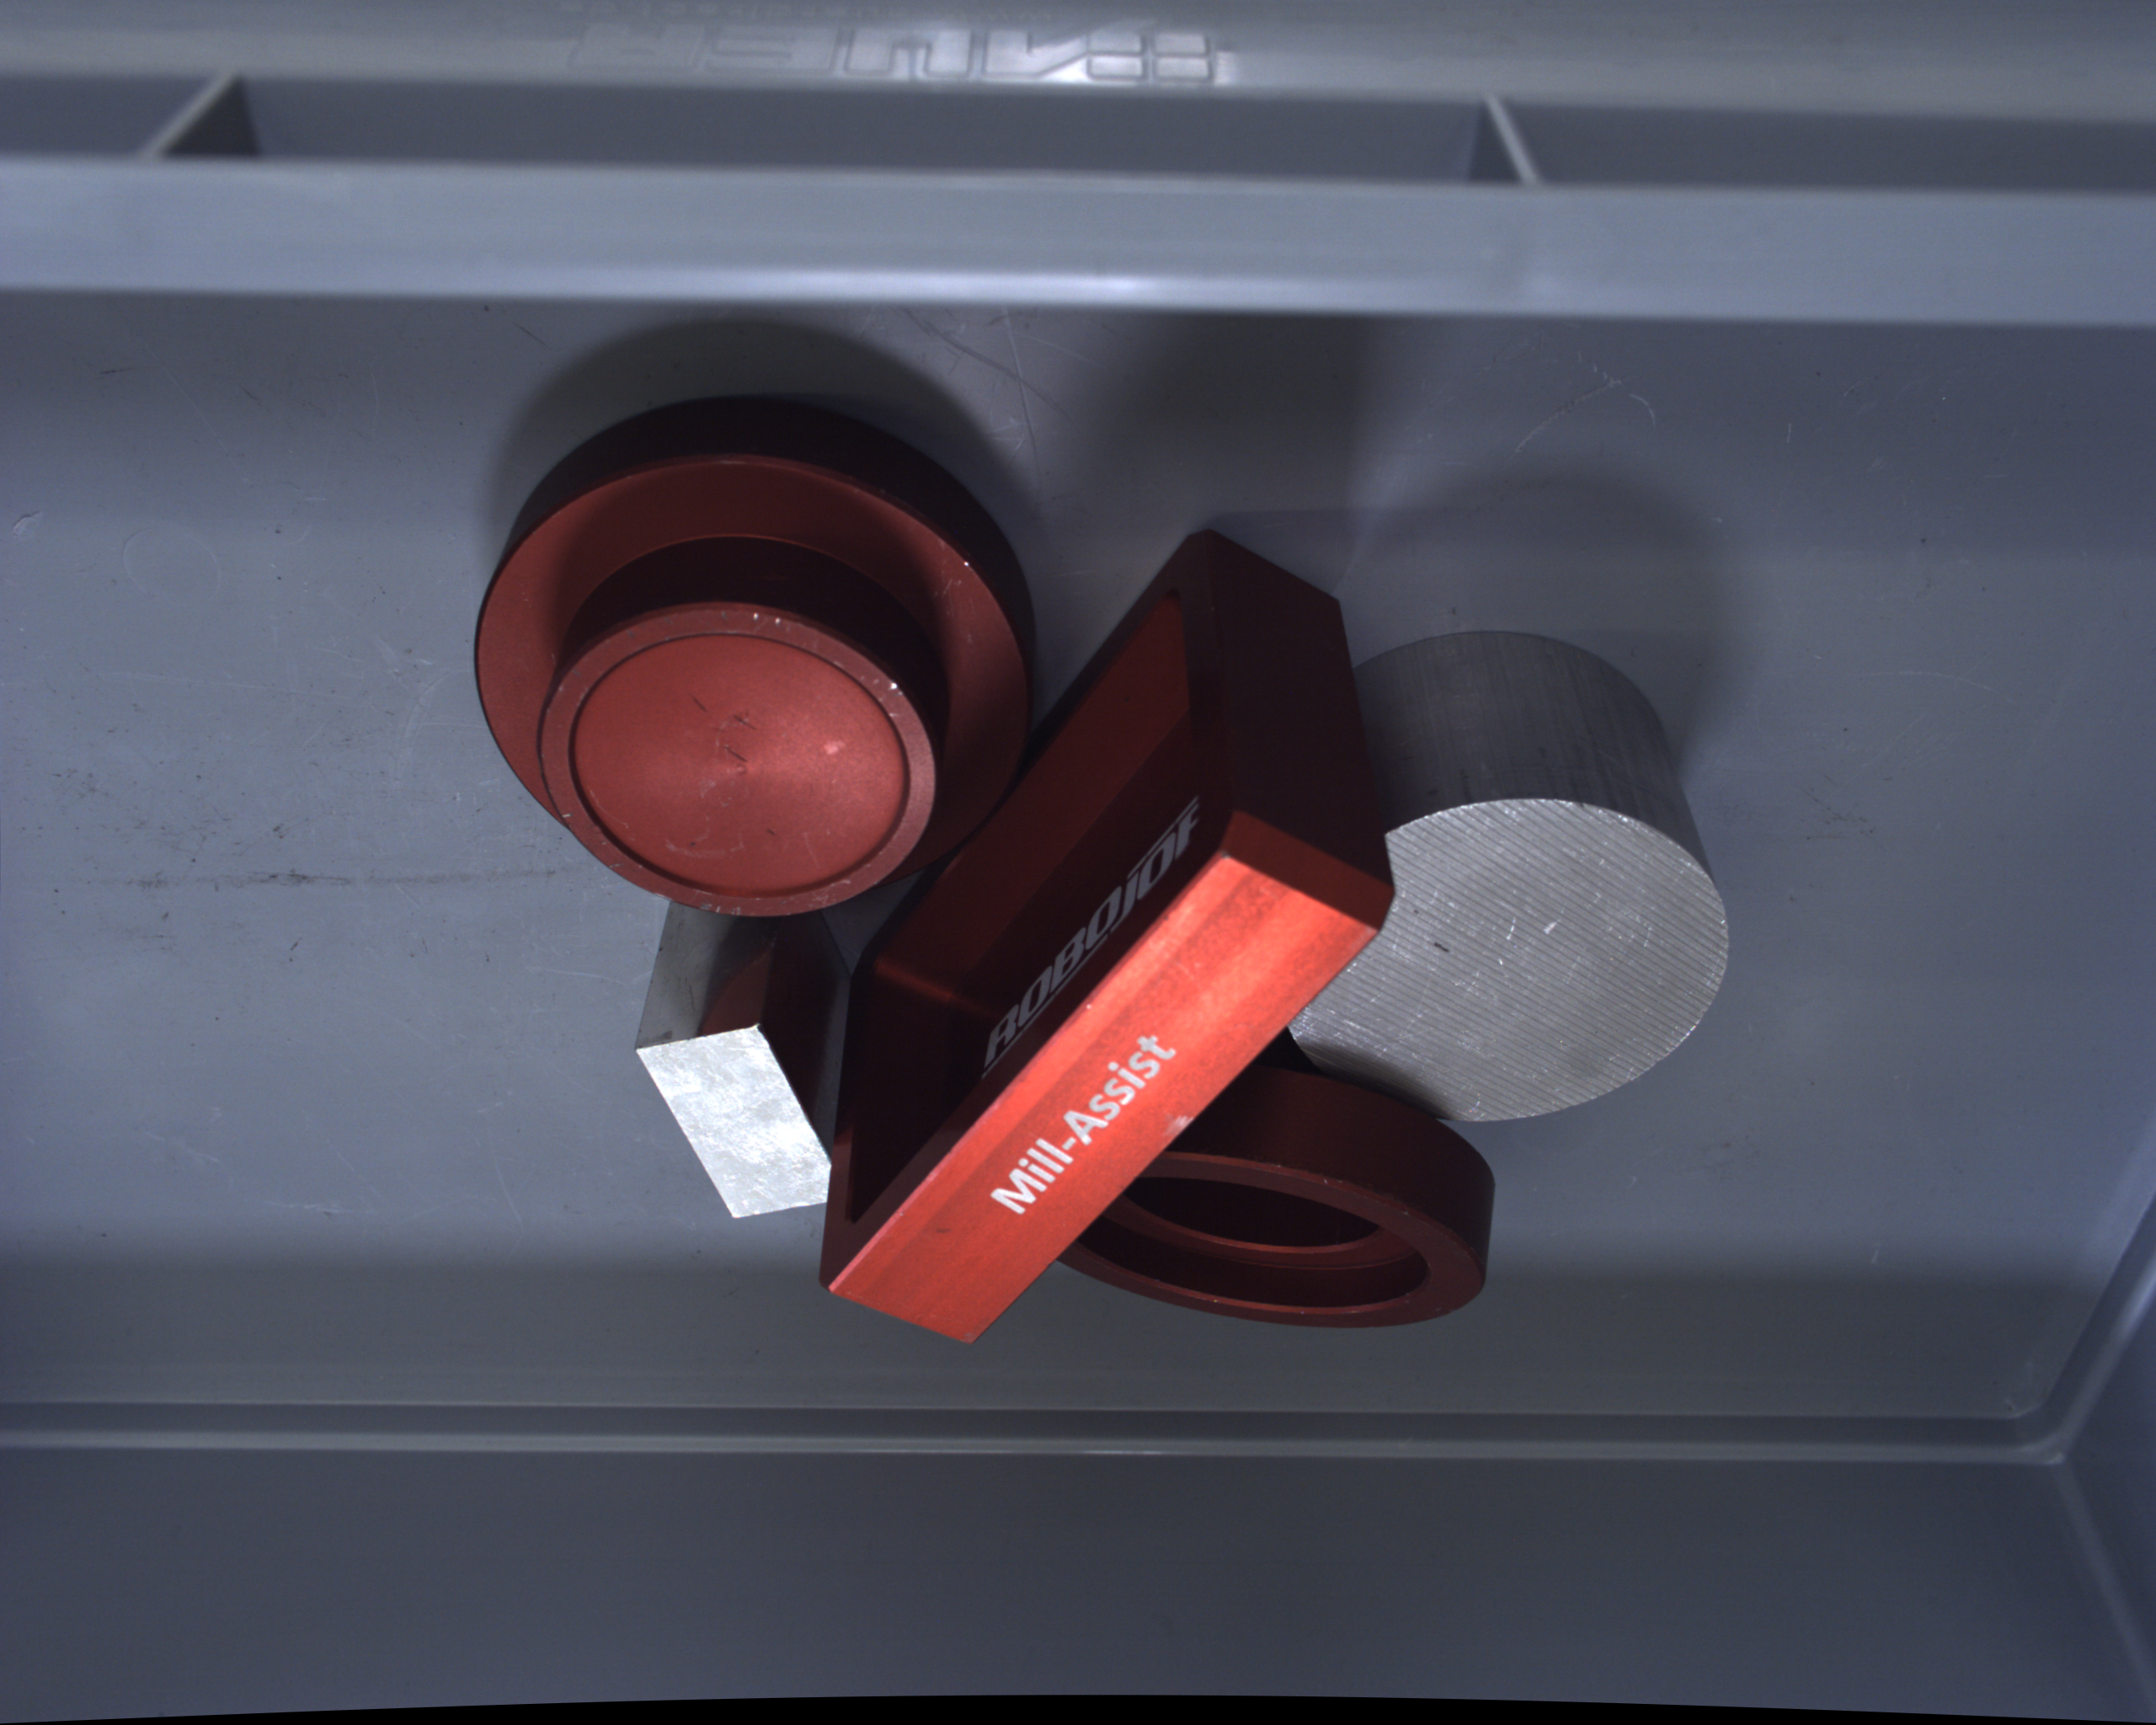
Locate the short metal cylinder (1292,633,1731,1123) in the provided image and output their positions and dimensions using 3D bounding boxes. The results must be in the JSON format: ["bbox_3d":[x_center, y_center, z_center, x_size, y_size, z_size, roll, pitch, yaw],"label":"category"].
[{"bbox_3d":[0.076,0.004,0.394,0.081,0.050,0.079,0,130,0],"label":"short metal cylinder"}]

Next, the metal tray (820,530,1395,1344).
[{"bbox_3d":[0.001,0.014,0.376,0.030,0.090,0.129,26,125,-21],"label":"metal tray"}]

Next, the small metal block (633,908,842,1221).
[{"bbox_3d":[-0.064,0.035,0.419,0.025,0.050,0.050,-12,129,10],"label":"small metal block"}]

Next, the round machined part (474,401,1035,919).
[{"bbox_3d":[-0.057,-0.028,0.370,0.099,0.042,0.097,0,130,0],"label":"round machined part"}]

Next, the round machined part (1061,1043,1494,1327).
[{"bbox_3d":[0.037,0.060,0.432,0.099,0.042,0.098,9,152,5],"label":"round machined part"}]
